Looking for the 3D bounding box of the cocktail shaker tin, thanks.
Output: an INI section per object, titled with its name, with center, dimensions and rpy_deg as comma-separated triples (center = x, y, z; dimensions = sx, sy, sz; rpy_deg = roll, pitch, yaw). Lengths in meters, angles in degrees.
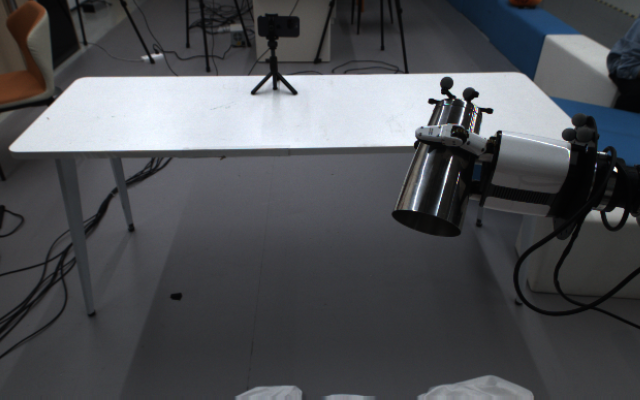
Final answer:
[cocktail shaker tin]
center = 0.165, -0.047, 0.648
dimensions = 0.093, 0.093, 0.170
rpy_deg = 15, 75, 18
